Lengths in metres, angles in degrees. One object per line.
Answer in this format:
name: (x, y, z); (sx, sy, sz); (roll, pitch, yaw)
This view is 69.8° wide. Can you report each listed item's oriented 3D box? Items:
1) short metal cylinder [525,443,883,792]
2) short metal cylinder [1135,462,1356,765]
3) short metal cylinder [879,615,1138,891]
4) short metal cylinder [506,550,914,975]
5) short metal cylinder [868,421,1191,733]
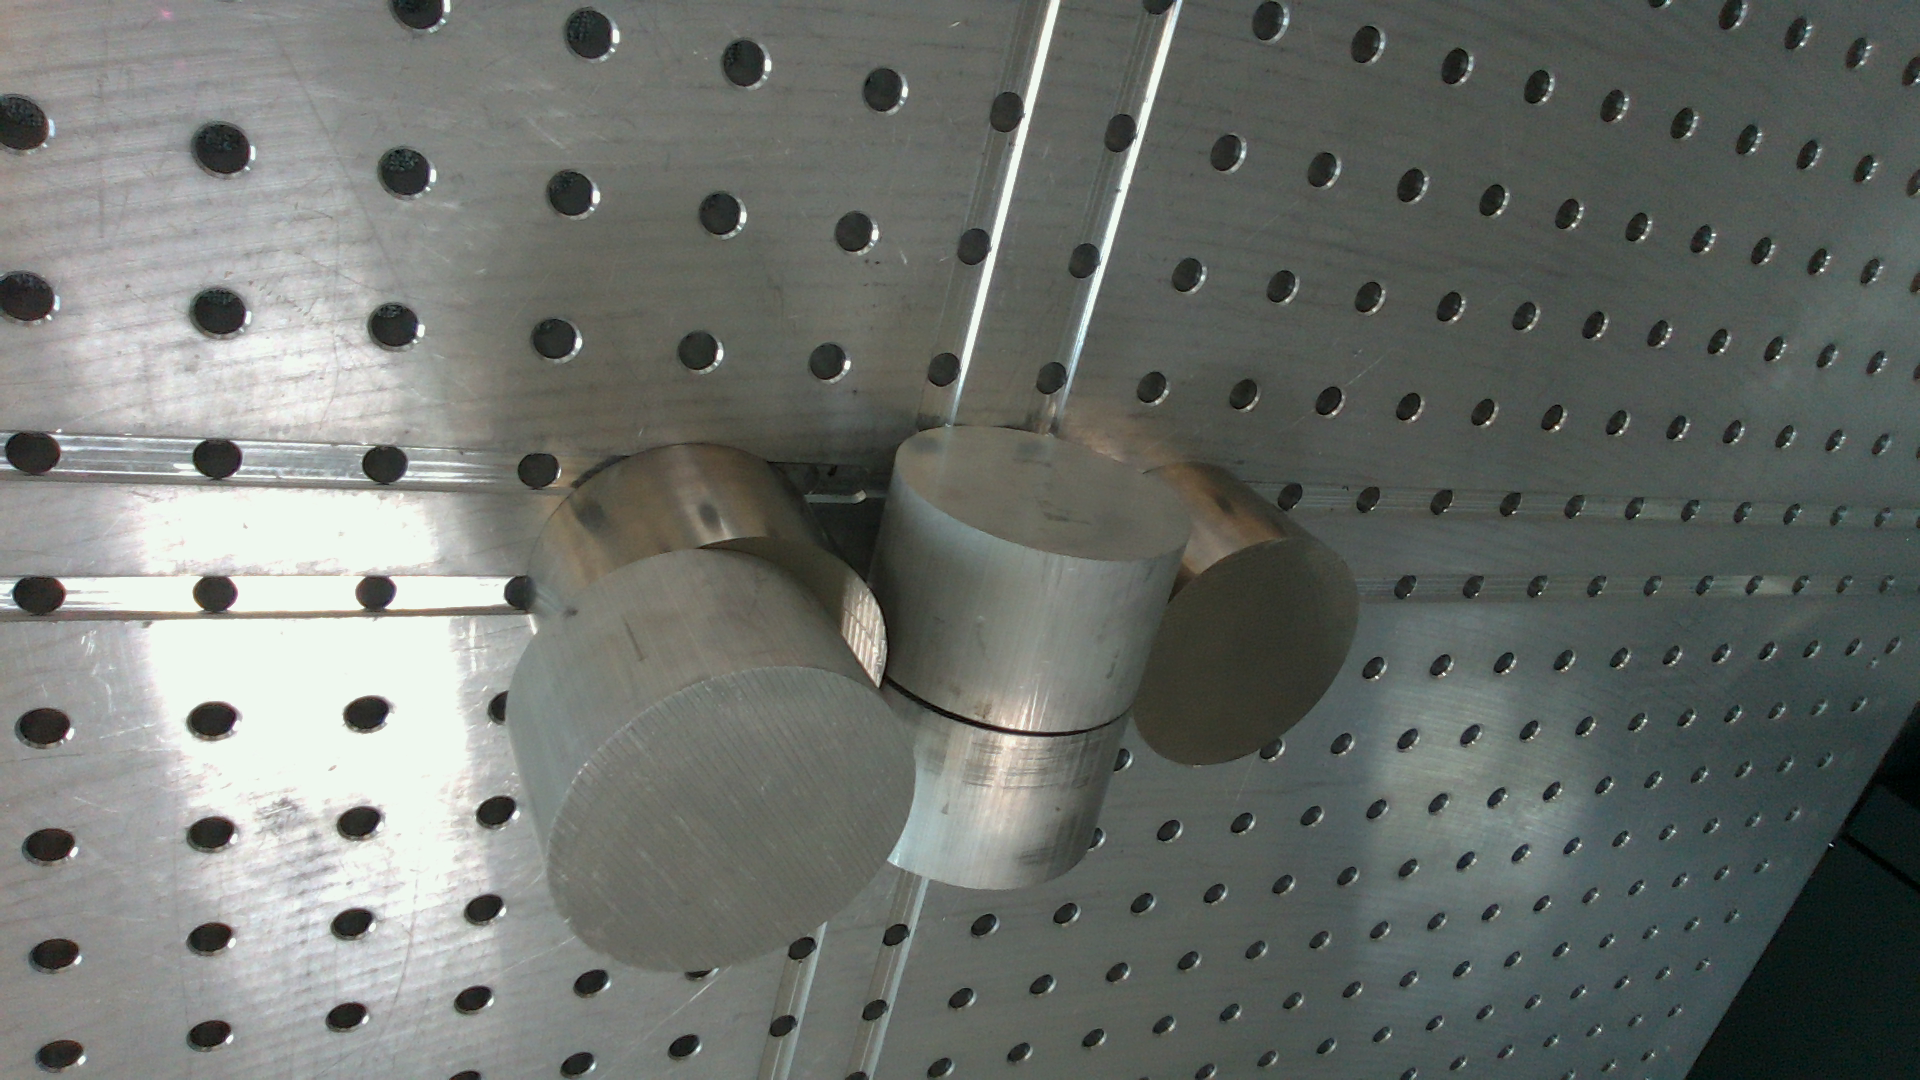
short metal cylinder: (-0.066, 0.022, 0.354); (0.080, 0.050, 0.080); (-14, 124, -21)
short metal cylinder: (0.075, 0.023, 0.430); (0.080, 0.050, 0.080); (-14, 124, -21)
short metal cylinder: (0.005, 0.053, 0.392); (0.080, 0.080, 0.050); (-1, 119, -28)
short metal cylinder: (-0.057, 0.049, 0.309); (0.080, 0.050, 0.080); (-14, 124, -21)
short metal cylinder: (0.016, 0.008, 0.371); (0.080, 0.080, 0.050); (1, 119, -29)
